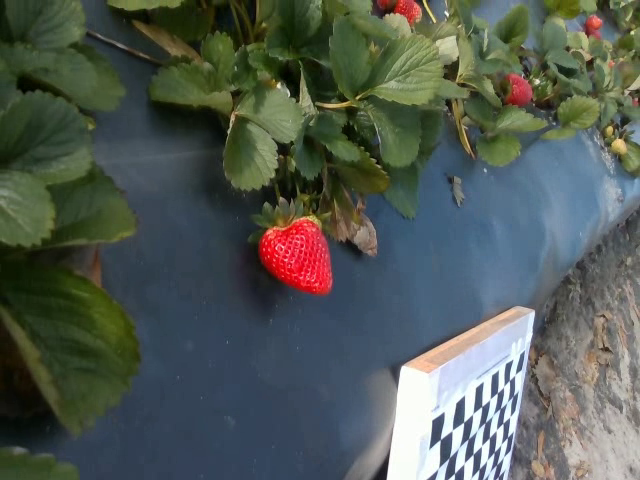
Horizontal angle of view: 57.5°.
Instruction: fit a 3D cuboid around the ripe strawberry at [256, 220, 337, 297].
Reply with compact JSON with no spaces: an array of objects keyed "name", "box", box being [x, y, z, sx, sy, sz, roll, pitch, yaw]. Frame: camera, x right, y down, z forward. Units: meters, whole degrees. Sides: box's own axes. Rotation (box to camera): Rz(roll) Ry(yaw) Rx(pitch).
[{"name":"ripe strawberry","box":[-0.011,0.012,0.344,0.051,0.058,0.045,-45,-24,26]}]
